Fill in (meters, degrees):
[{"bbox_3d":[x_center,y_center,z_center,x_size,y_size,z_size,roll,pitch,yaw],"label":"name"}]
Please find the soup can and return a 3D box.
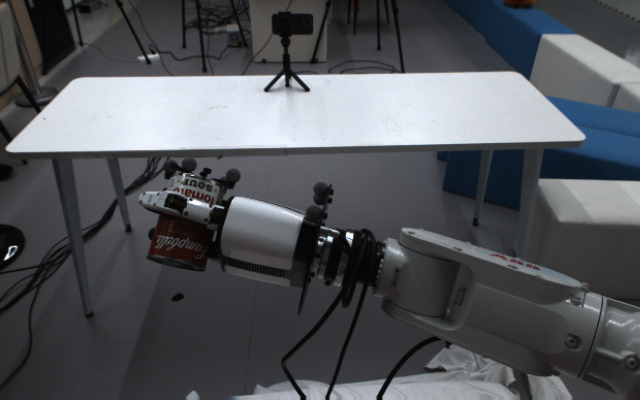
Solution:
[{"bbox_3d":[-0.155,0.028,0.566,0.067,0.067,0.101,8,72,8],"label":"soup can"}]
